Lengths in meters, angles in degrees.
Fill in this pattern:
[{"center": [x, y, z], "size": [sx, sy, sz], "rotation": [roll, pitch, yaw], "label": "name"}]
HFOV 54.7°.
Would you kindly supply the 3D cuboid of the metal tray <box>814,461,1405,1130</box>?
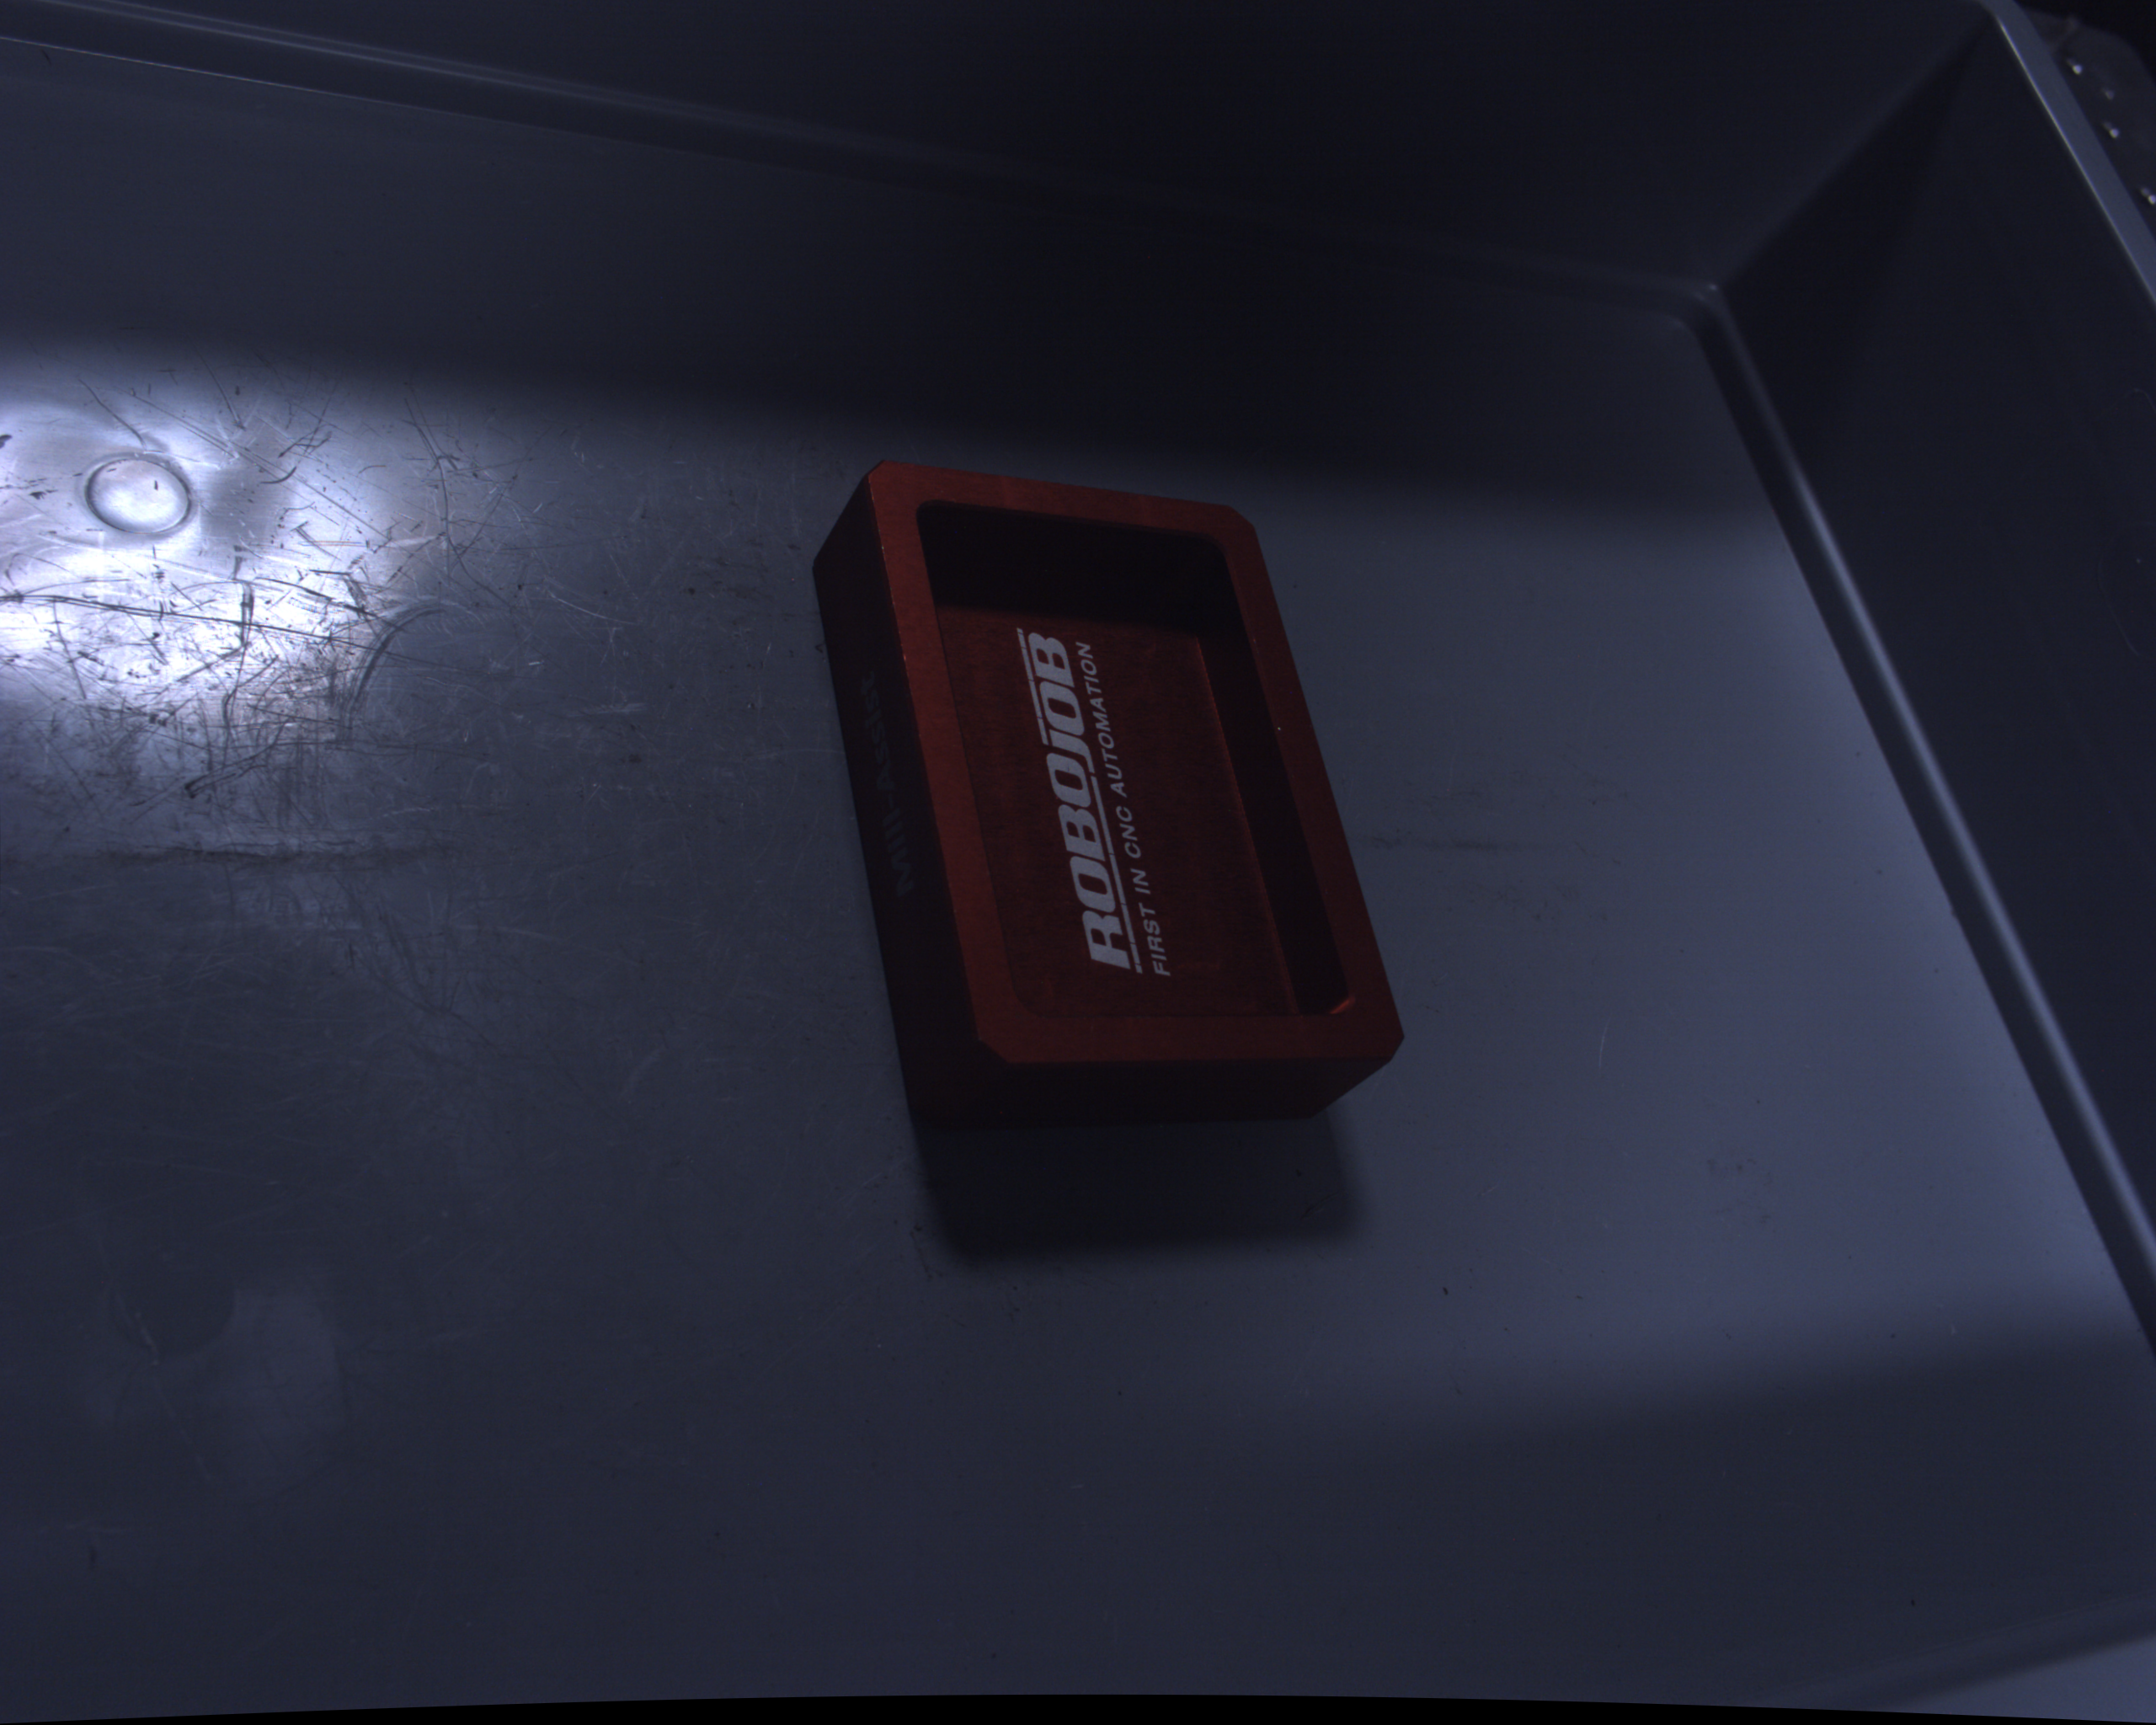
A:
[{"center": [0.004, -0.014, 0.411], "size": [0.091, 0.030, 0.130], "rotation": [2, 61, -28], "label": "metal tray"}]
